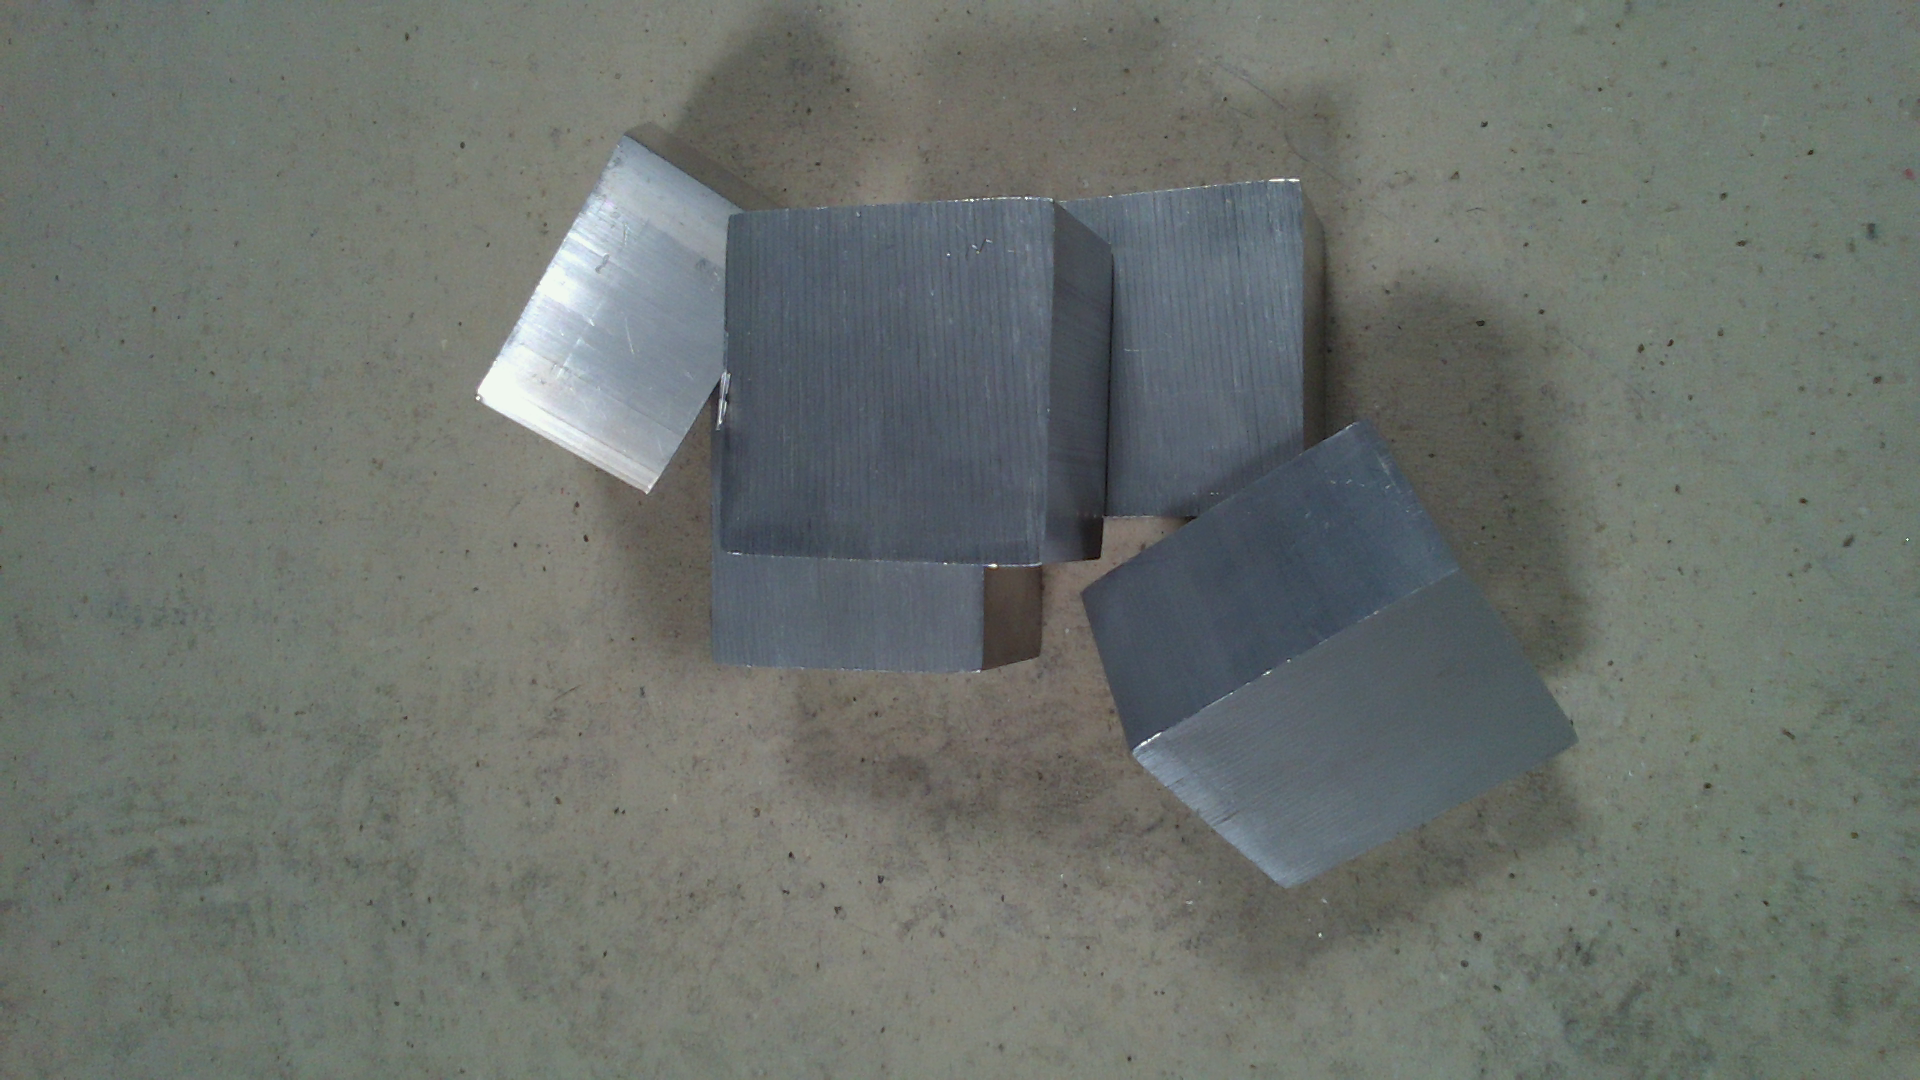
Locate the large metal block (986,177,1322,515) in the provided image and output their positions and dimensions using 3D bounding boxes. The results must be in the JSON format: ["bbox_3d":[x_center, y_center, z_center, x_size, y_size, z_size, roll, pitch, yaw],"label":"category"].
[{"bbox_3d":[0.053,-0.046,0.364,0.080,0.050,0.080,0,90,20],"label":"large metal block"}]

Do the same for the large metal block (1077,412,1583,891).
[{"bbox_3d":[0.088,0.030,0.328,0.080,0.080,0.050,-33,41,17],"label":"large metal block"}]

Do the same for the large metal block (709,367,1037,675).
[{"bbox_3d":[-0.023,-0.006,0.389,0.080,0.050,0.080,0,90,20],"label":"large metal block"}]

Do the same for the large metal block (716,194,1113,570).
[{"bbox_3d":[-0.009,-0.035,0.330,0.080,0.050,0.080,2,91,20],"label":"large metal block"}]

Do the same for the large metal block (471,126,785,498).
[{"bbox_3d":[-0.088,-0.069,0.391,0.050,0.080,0.080,30,102,-16],"label":"large metal block"}]
